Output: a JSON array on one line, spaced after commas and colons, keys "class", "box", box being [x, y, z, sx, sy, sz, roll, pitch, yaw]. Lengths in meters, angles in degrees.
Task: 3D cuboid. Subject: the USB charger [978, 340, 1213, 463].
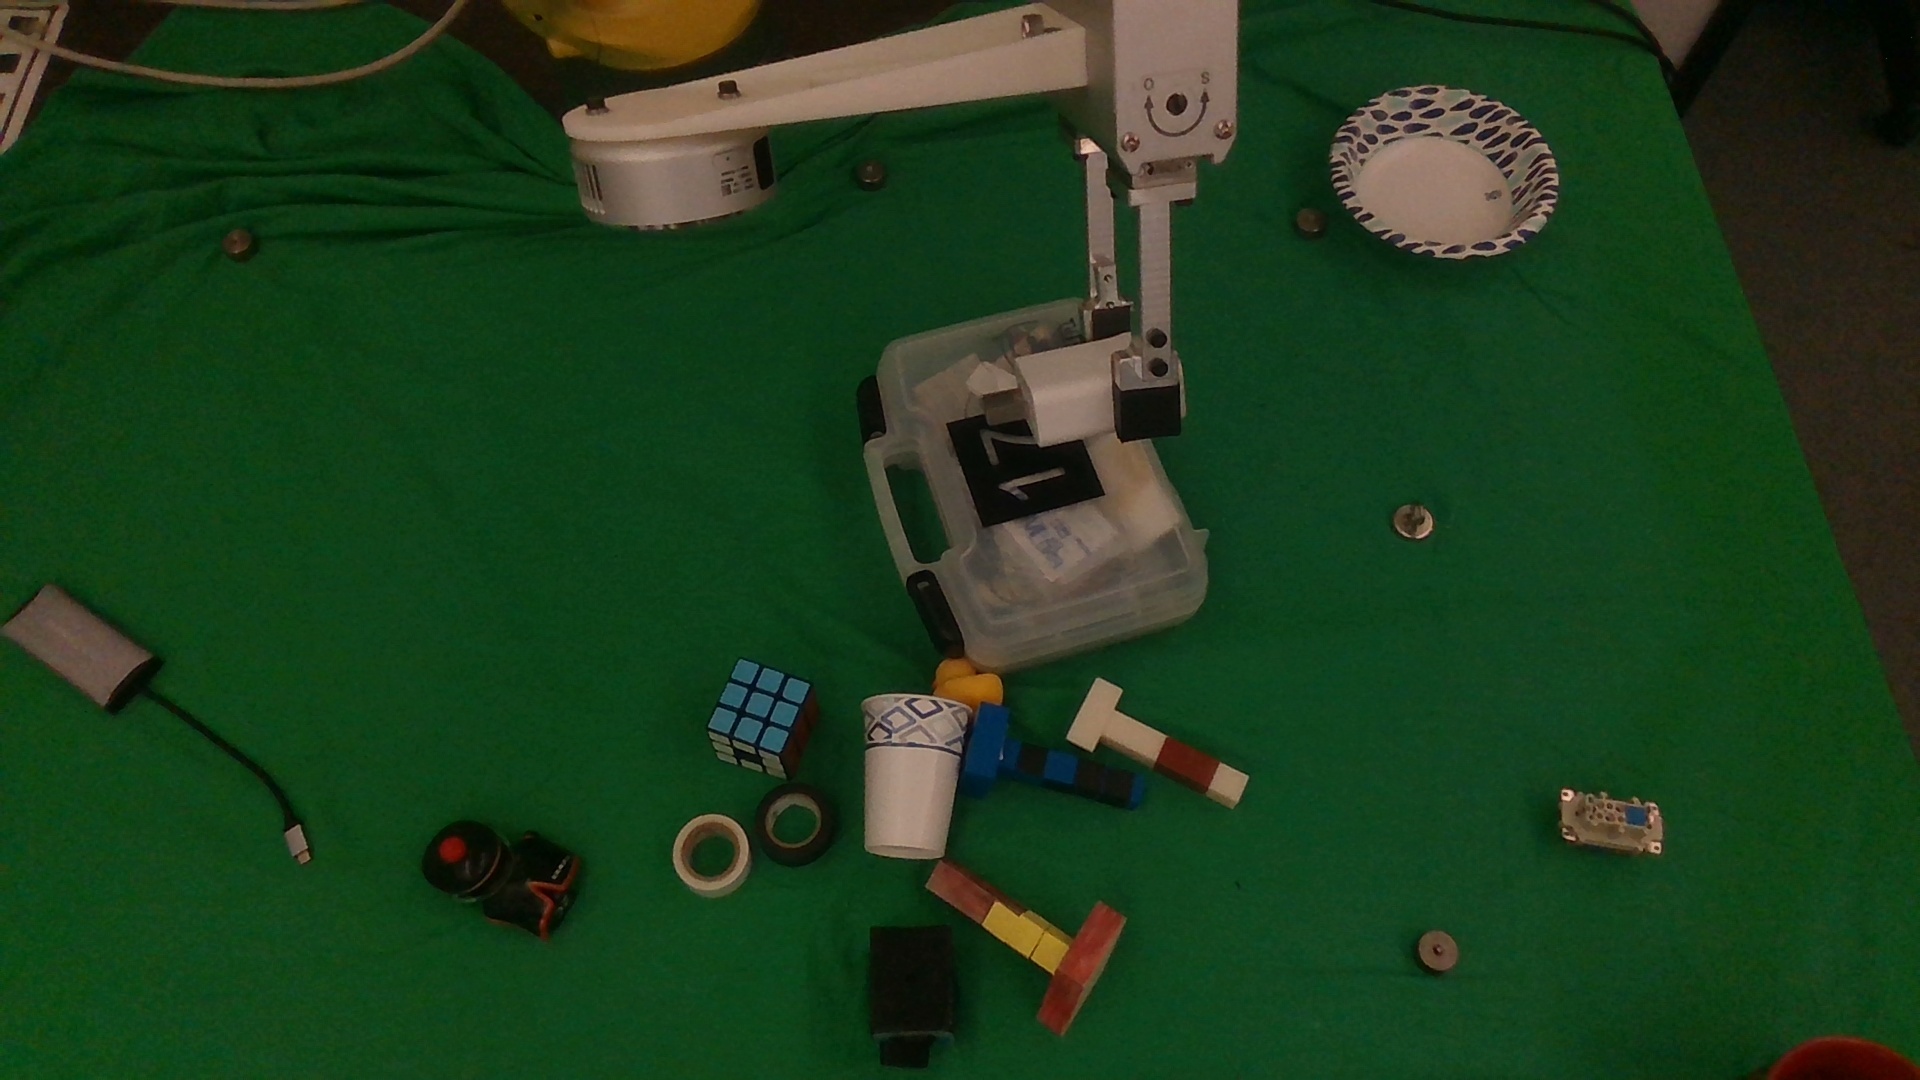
[{"class": "USB charger", "box": [0.043, -0.049, 0.479, 0.075, 0.029, 0.045, -13, 38, -19]}]

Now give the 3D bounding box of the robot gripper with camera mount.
[{"class": "robot gripper with camera mount", "box": [-0.019, -0.103, 0.436, 0.193, 0.158, 0.119, -8, 33, -5]}]
